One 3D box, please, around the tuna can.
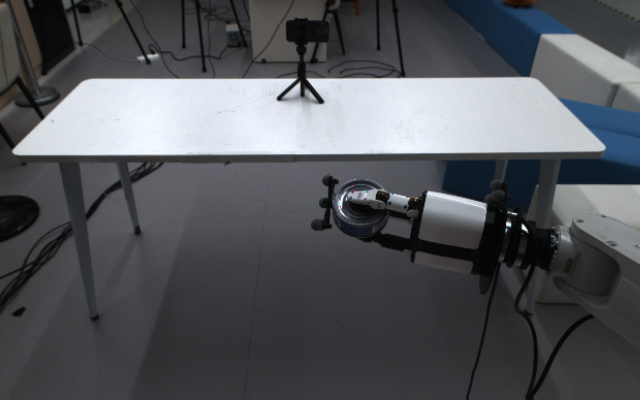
[{"bbox_3d":[0.064,0.014,0.715,0.085,0.034,0.085,-2,57,3],"label":"tuna can"}]
